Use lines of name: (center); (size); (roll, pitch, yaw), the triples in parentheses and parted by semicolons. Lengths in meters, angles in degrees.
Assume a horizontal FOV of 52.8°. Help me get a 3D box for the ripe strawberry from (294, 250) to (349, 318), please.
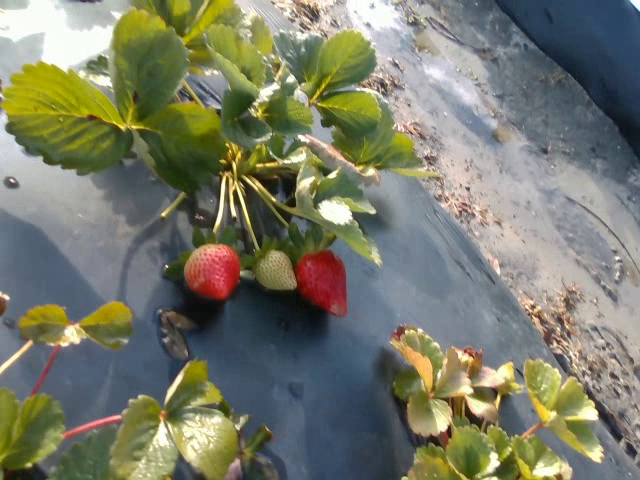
ripe strawberry: (0.005, 0.037, 0.501); (0.048, 0.065, 0.050); (-22, -19, 1)
